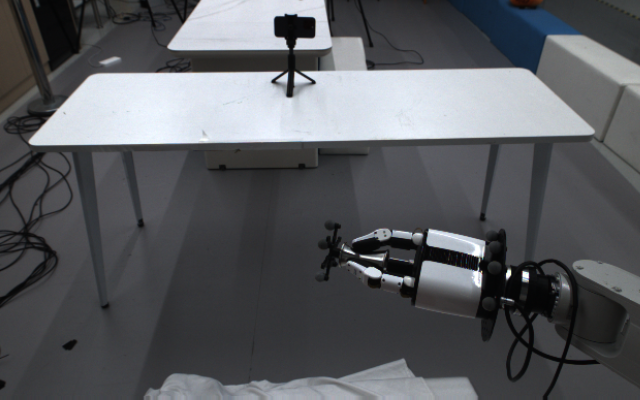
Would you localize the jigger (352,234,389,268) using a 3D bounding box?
[{"bbox_3d":[0.072,0.085,0.724,0.071,0.043,0.043,11,36,16],"label":"jigger"}]
